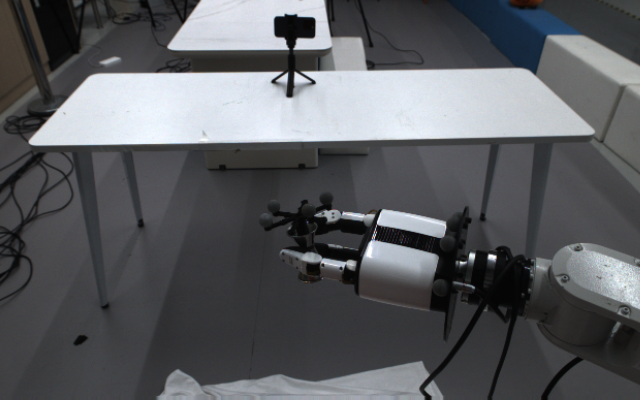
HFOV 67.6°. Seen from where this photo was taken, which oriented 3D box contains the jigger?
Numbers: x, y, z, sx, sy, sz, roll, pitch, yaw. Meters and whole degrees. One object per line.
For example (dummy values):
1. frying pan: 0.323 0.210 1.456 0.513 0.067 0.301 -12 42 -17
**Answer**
1. jigger: -0.014 0.066 0.621 0.043 0.071 0.043 -11 24 5
